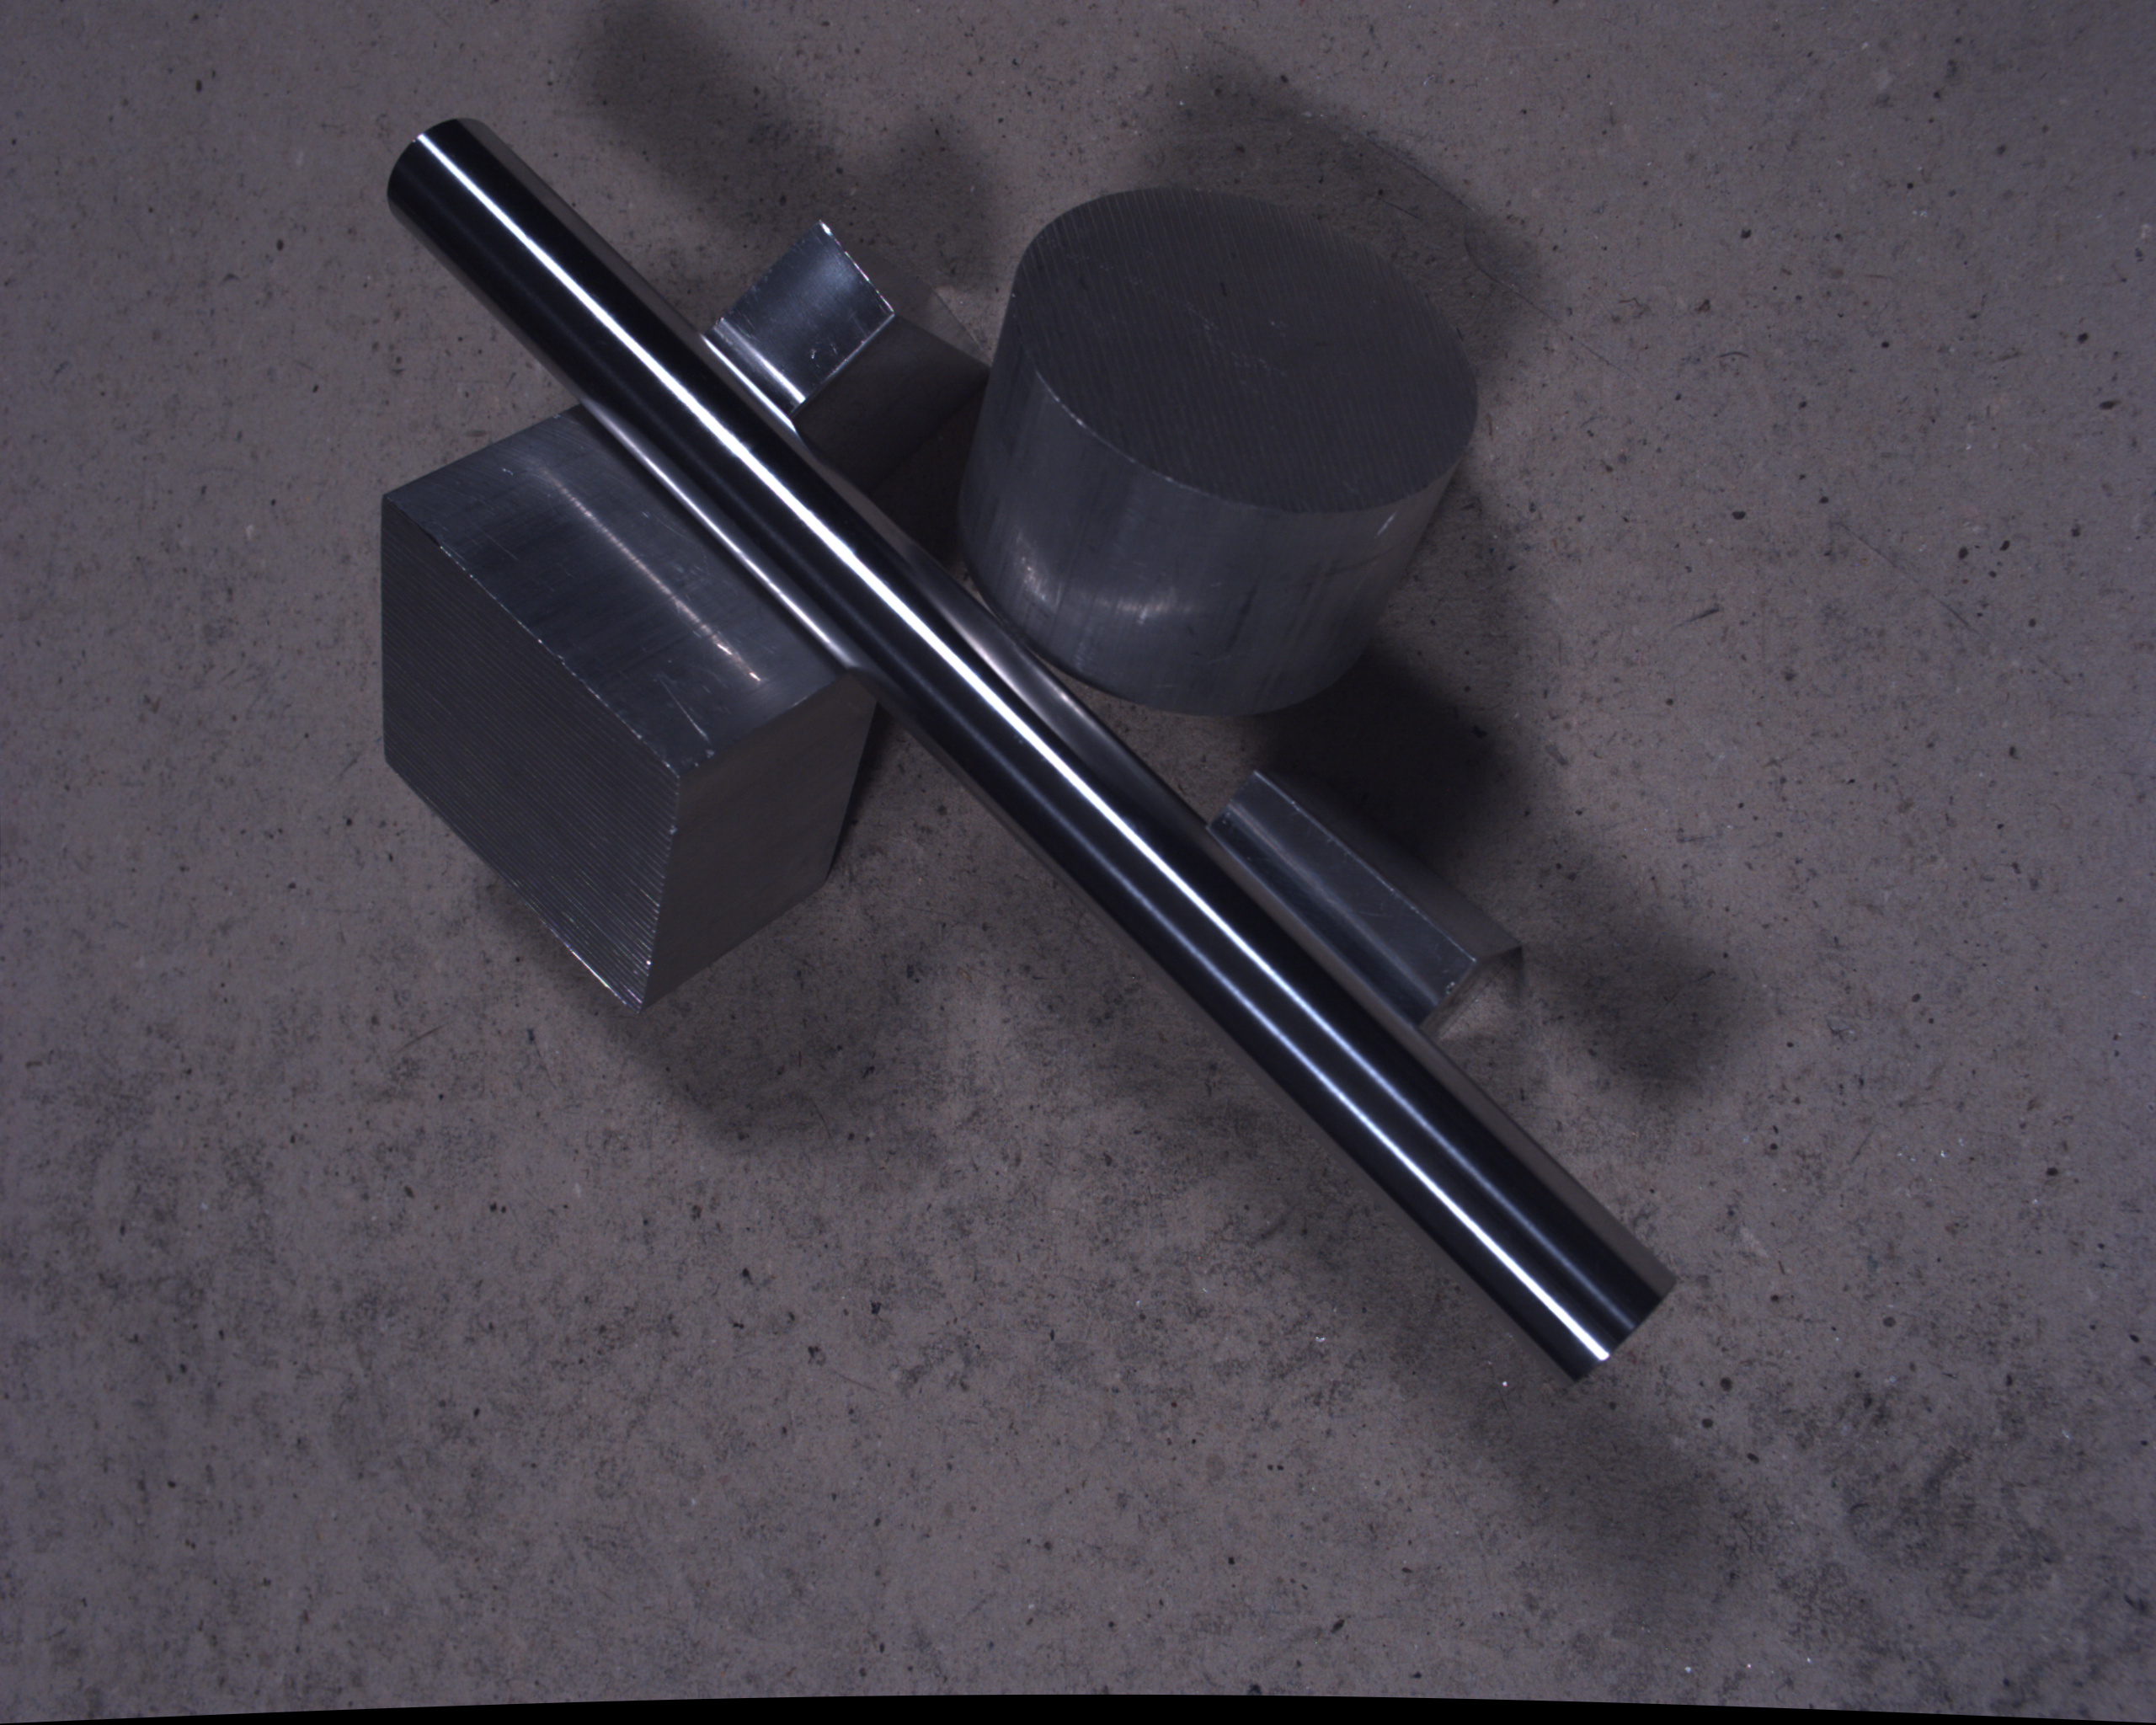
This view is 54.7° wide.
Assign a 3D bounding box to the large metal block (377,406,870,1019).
[{"bbox_3d":[-0.090,-0.030,0.409,0.080,0.050,0.080,42,144,14],"label":"large metal block"}]

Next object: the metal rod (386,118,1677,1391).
[{"bbox_3d":[-0.018,-0.029,0.363,0.300,0.025,0.025,45,104,14],"label":"metal rod"}]

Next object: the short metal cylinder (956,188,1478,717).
[{"bbox_3d":[0.023,-0.072,0.366,0.080,0.080,0.050,41,144,15],"label":"short metal cylinder"}]

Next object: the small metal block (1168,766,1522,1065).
[{"bbox_3d":[0.049,0.009,0.376,0.050,0.050,0.025,42,103,14],"label":"small metal block"}]

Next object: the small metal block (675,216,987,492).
[{"bbox_3d":[-0.050,-0.095,0.414,0.050,0.050,0.025,-40,78,15],"label":"small metal block"}]
